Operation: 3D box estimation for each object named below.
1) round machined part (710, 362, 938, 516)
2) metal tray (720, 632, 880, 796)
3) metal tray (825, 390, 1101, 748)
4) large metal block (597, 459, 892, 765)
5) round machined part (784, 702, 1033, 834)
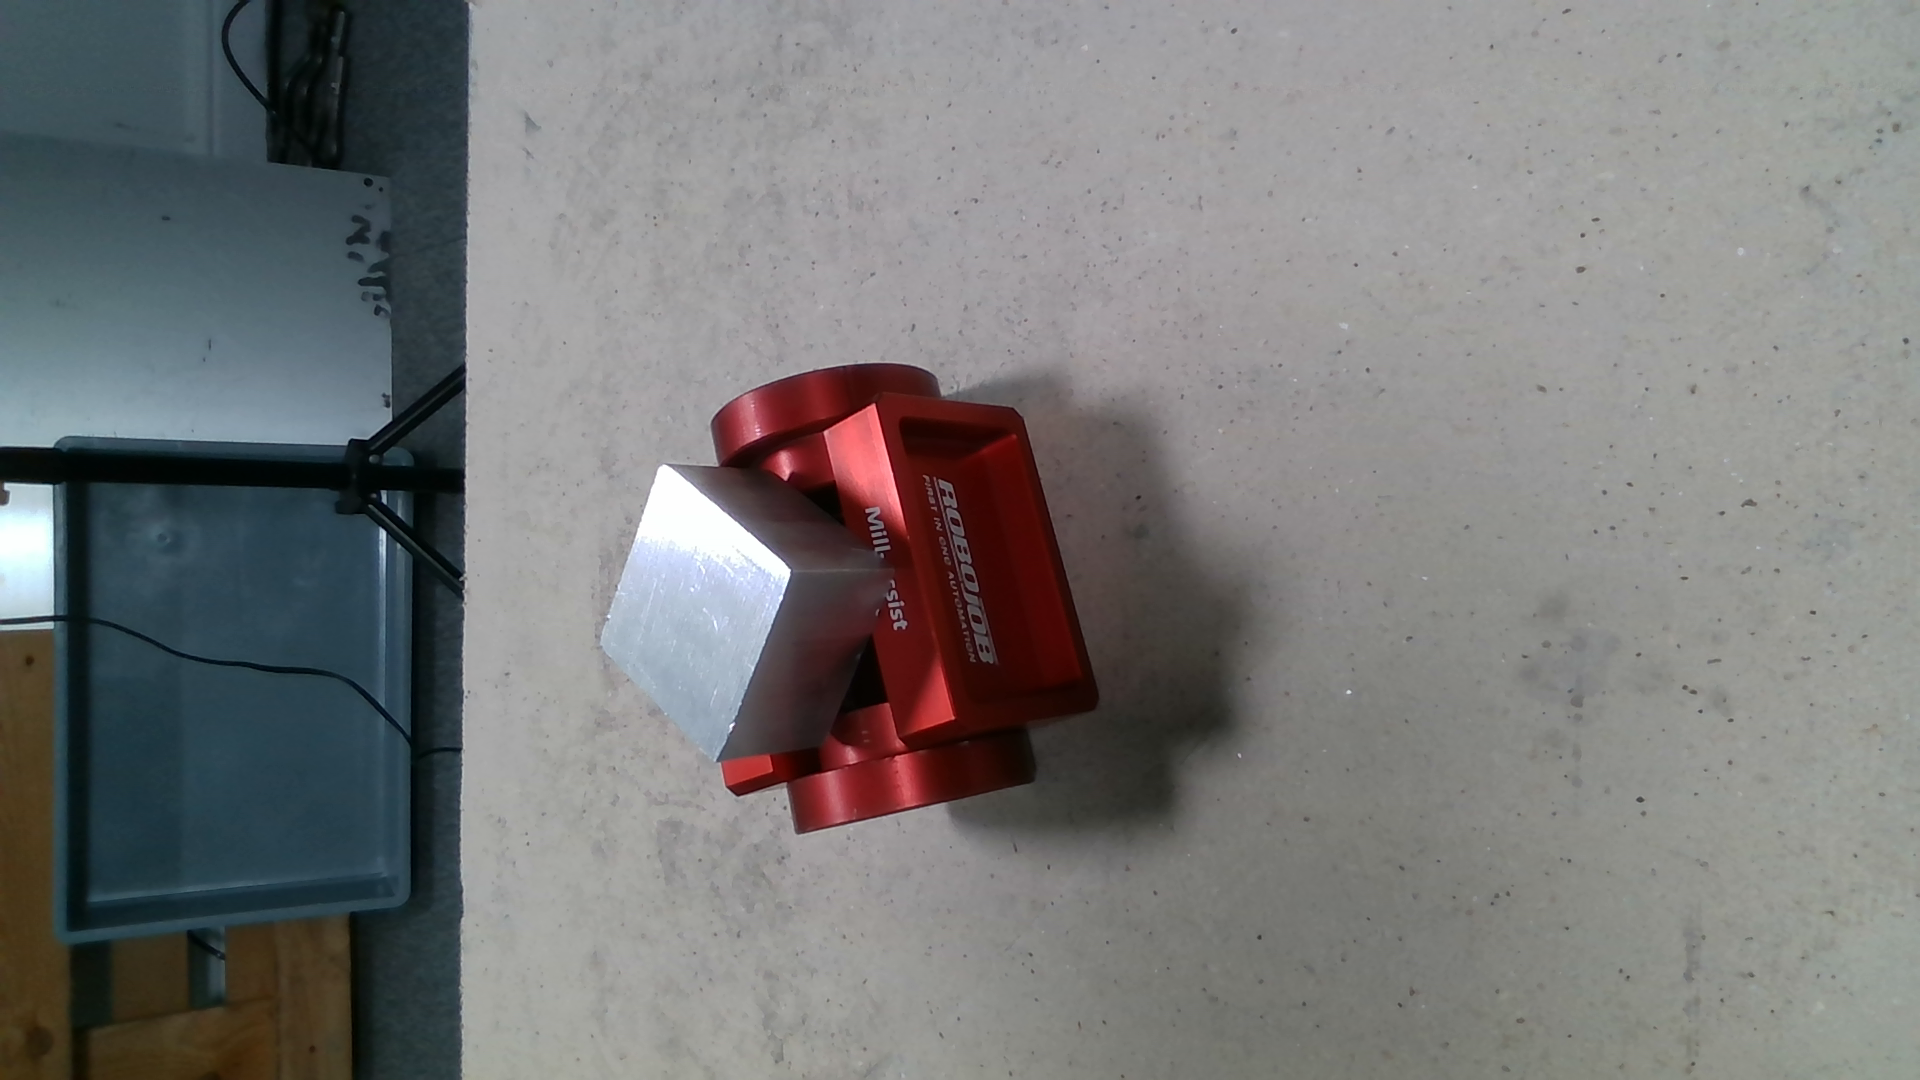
[{"bbox_3d":[-0.053,-0.038,0.579,0.098,0.098,0.042,-20,77,39],"label":"round machined part"},{"bbox_3d":[-0.072,0.039,0.599,0.030,0.090,0.130,-23,76,38],"label":"metal tray"},{"bbox_3d":[0.002,0.010,0.539,0.030,0.090,0.130,-23,75,38],"label":"metal tray"},{"bbox_3d":[-0.082,0.025,0.515,0.080,0.050,0.080,37,113,34],"label":"large metal block"},{"bbox_3d":[-0.023,0.087,0.554,0.098,0.098,0.042,-20,77,39],"label":"round machined part"}]
